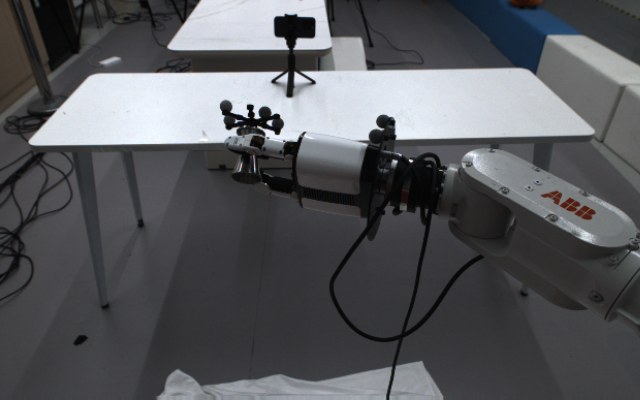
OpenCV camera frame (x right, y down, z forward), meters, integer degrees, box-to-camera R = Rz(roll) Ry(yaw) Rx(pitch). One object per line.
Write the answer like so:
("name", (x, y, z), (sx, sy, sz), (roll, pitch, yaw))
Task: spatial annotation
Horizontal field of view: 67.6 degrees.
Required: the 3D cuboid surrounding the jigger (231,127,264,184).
("jigger", (-0.099, -0.062, 0.657), (0.043, 0.043, 0.071), (3, 72, 1))
